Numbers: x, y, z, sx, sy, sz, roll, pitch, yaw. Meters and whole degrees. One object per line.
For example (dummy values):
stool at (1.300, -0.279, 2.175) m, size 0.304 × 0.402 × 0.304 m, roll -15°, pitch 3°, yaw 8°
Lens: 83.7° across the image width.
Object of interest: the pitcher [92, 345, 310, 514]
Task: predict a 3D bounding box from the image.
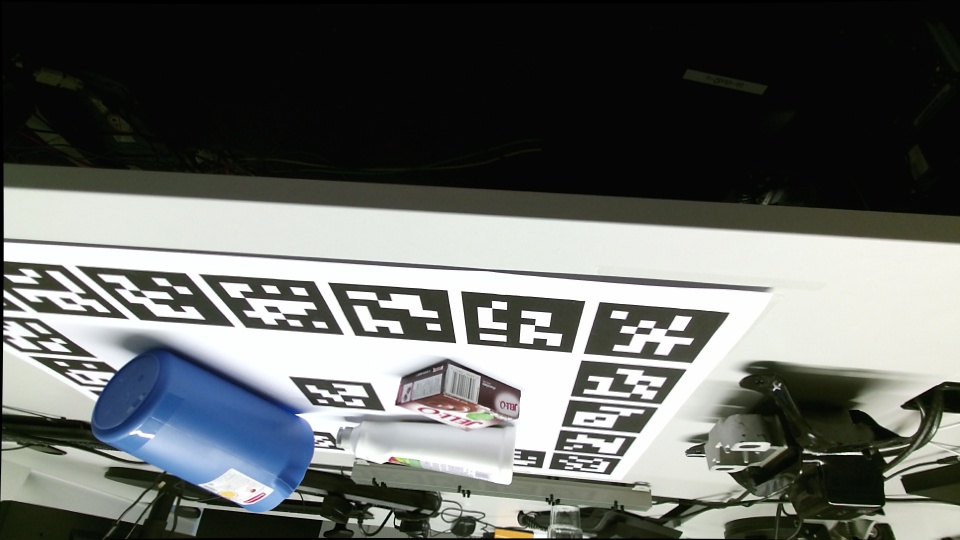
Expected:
pitcher at (-0.349, 0.198, 0.682) m, size 0.188 × 0.133 × 0.243 m, roll 21°, pitch 154°, yaw 45°

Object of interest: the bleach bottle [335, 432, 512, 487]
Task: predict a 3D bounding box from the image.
bleach bottle at (-0.083, 0.262, 0.752) m, size 0.251 × 0.067 × 0.103 m, roll 3°, pitch 139°, yaw 9°

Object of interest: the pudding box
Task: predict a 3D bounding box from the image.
pudding box at (-0.030, 0.156, 0.611) m, size 0.114 × 0.038 × 0.090 m, roll 34°, pitch 142°, yaw -29°
